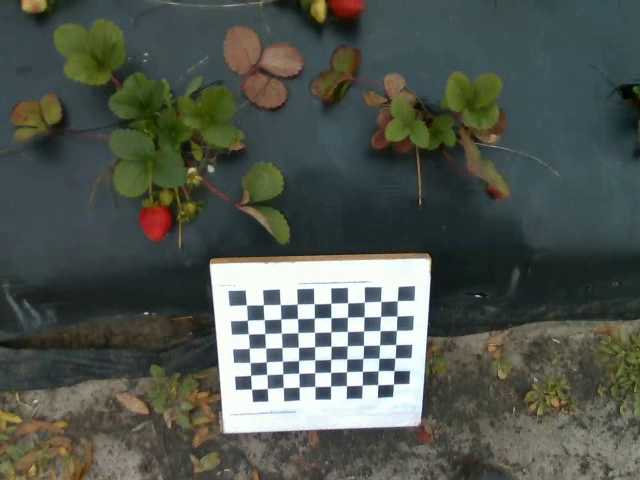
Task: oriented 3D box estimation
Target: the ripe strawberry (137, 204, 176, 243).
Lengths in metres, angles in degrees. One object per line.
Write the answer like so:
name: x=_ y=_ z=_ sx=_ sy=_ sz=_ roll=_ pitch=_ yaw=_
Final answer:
ripe strawberry: x=-0.062 y=-0.008 z=0.180 sx=0.018 sy=0.017 sz=0.014 roll=0 pitch=-21 yaw=-13
